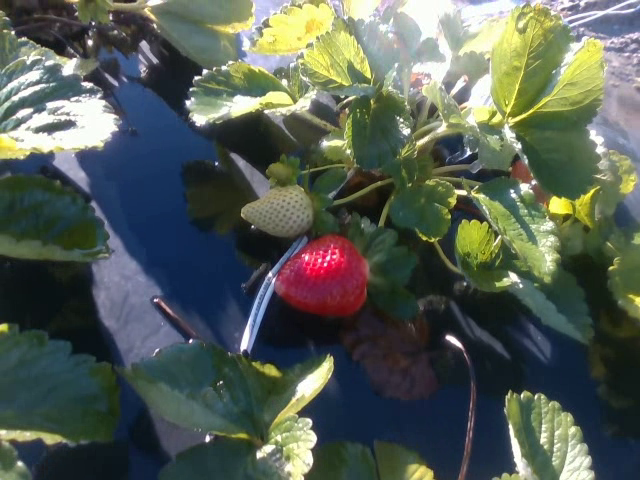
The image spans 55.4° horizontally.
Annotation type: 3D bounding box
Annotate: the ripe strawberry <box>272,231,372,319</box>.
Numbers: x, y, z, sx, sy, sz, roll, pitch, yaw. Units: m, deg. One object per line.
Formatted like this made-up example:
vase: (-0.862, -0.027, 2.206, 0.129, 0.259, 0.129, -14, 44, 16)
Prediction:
ripe strawberry: (0.007, 0.021, 0.354, 0.080, 0.063, 0.040, -8, -4, -41)
